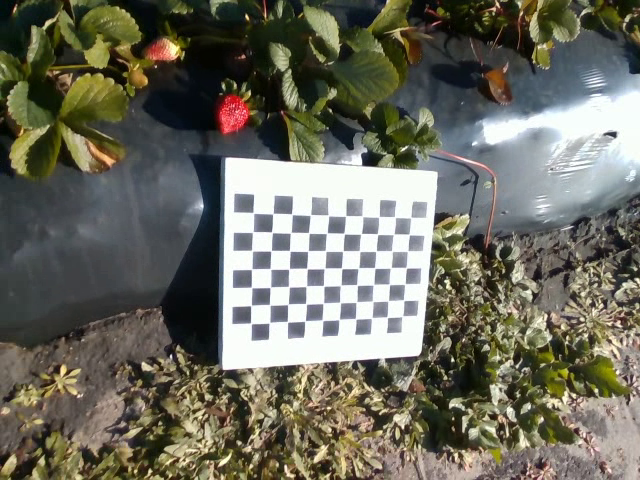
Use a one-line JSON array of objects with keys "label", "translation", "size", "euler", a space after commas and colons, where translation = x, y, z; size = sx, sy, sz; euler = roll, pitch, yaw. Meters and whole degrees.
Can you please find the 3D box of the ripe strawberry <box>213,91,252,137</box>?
[{"label": "ripe strawberry", "translation": [-0.107, -0.157, 0.748], "size": [0.058, 0.066, 0.062], "euler": [-37, 22, 14]}]
